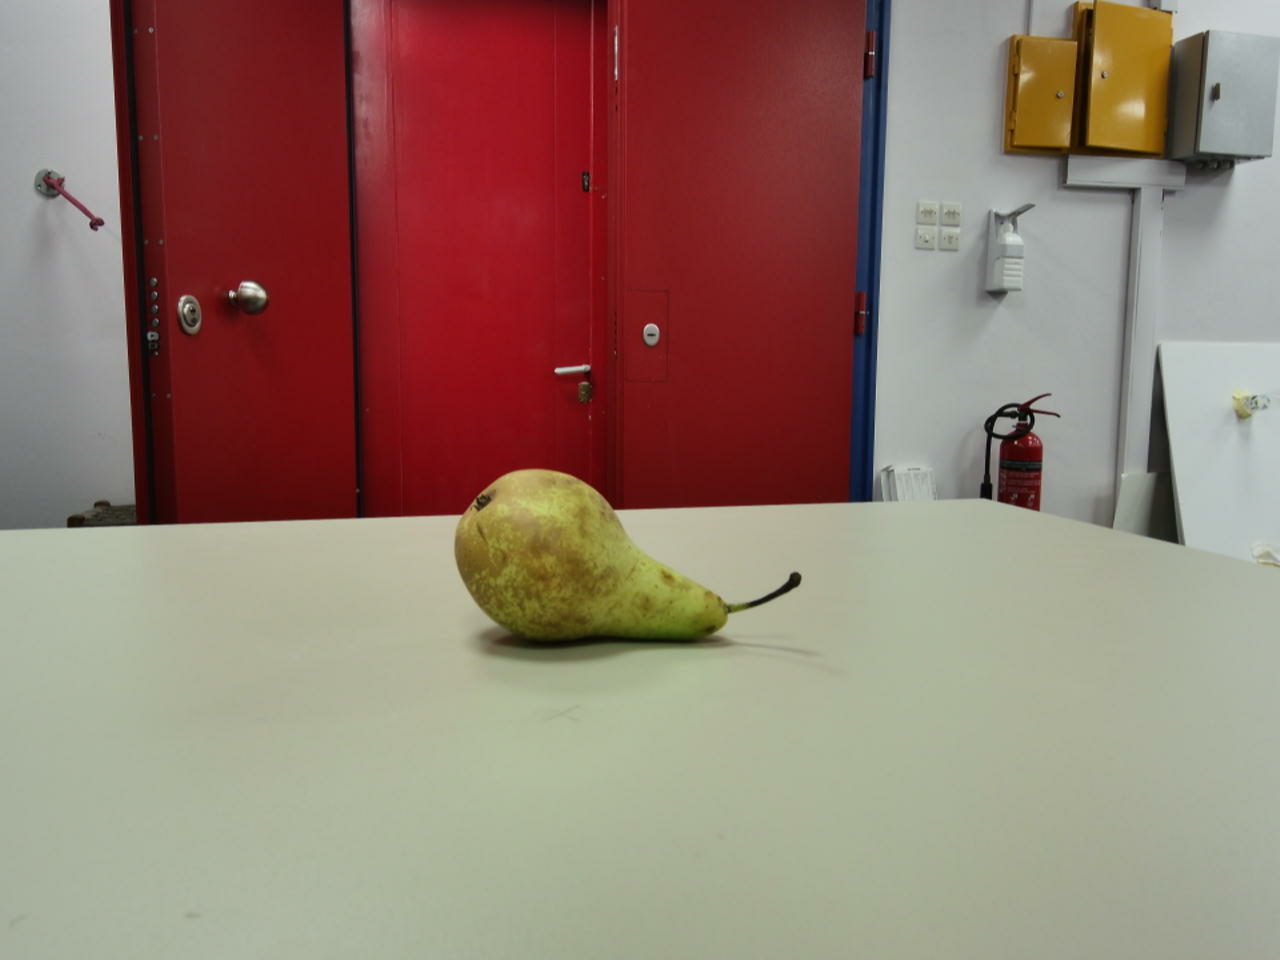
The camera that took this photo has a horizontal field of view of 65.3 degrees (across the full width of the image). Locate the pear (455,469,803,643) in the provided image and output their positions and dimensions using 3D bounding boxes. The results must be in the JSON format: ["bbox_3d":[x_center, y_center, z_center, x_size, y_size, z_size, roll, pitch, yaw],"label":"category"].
[{"bbox_3d":[-0.008,0.032,0.440,0.144,0.075,0.071,-1,4,-6],"label":"pear"}]
